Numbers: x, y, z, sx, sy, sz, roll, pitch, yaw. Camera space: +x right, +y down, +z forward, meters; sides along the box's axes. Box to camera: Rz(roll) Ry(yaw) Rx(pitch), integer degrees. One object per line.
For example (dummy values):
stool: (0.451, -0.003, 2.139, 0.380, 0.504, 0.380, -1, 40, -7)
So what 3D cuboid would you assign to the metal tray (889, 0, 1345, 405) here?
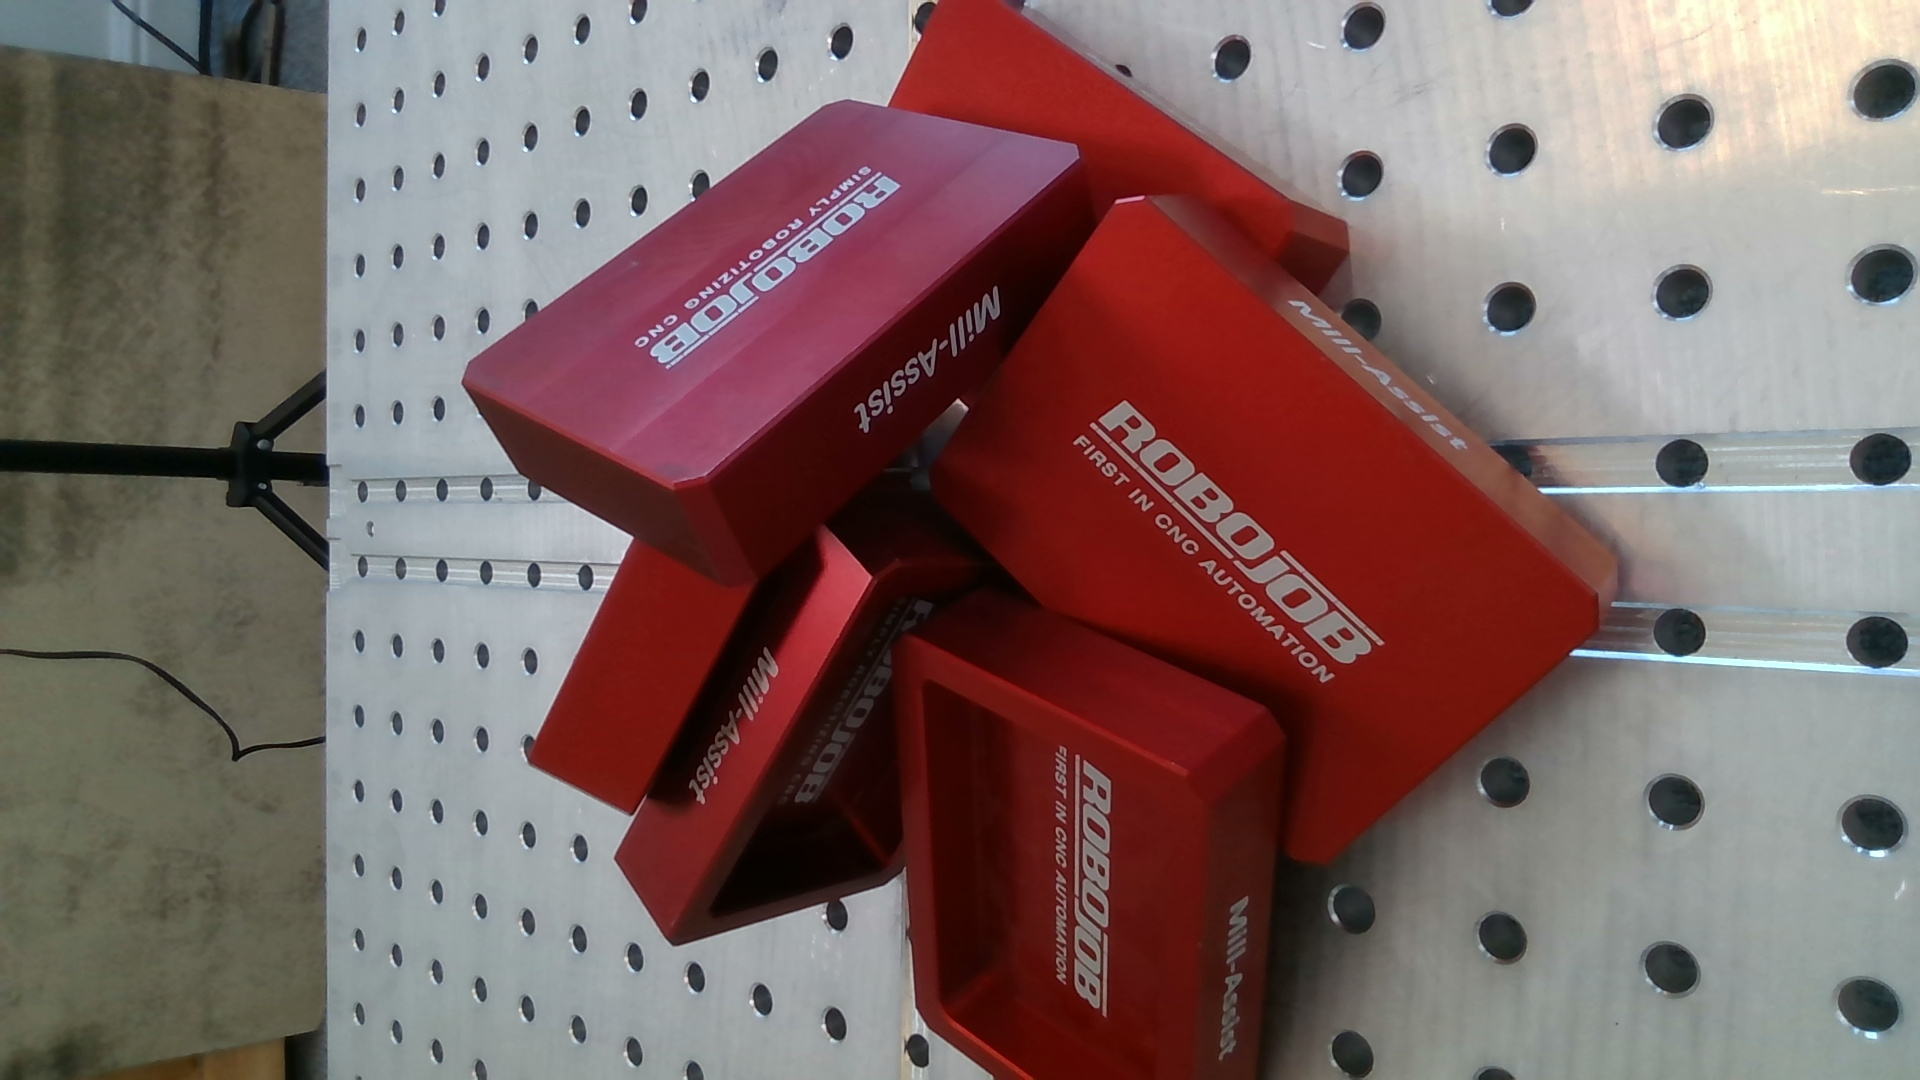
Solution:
metal tray: (0.026, -0.078, 0.368, 0.130, 0.030, 0.090, 46, 119, 30)

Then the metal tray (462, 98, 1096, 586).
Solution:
metal tray: (-0.040, -0.054, 0.328, 0.090, 0.130, 0.030, 24, 148, 37)

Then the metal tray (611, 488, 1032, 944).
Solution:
metal tray: (-0.028, 0.047, 0.374, 0.030, 0.090, 0.130, 46, 118, 30)

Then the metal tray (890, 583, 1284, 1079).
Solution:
metal tray: (0.027, 0.085, 0.336, 0.090, 0.030, 0.130, 23, 128, 38)

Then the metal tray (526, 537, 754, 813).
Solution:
metal tray: (-0.069, 0.005, 0.389, 0.030, 0.130, 0.090, 29, 114, -5)

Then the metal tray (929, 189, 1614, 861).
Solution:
metal tray: (0.064, -0.005, 0.311, 0.130, 0.030, 0.090, 46, 122, 14)
